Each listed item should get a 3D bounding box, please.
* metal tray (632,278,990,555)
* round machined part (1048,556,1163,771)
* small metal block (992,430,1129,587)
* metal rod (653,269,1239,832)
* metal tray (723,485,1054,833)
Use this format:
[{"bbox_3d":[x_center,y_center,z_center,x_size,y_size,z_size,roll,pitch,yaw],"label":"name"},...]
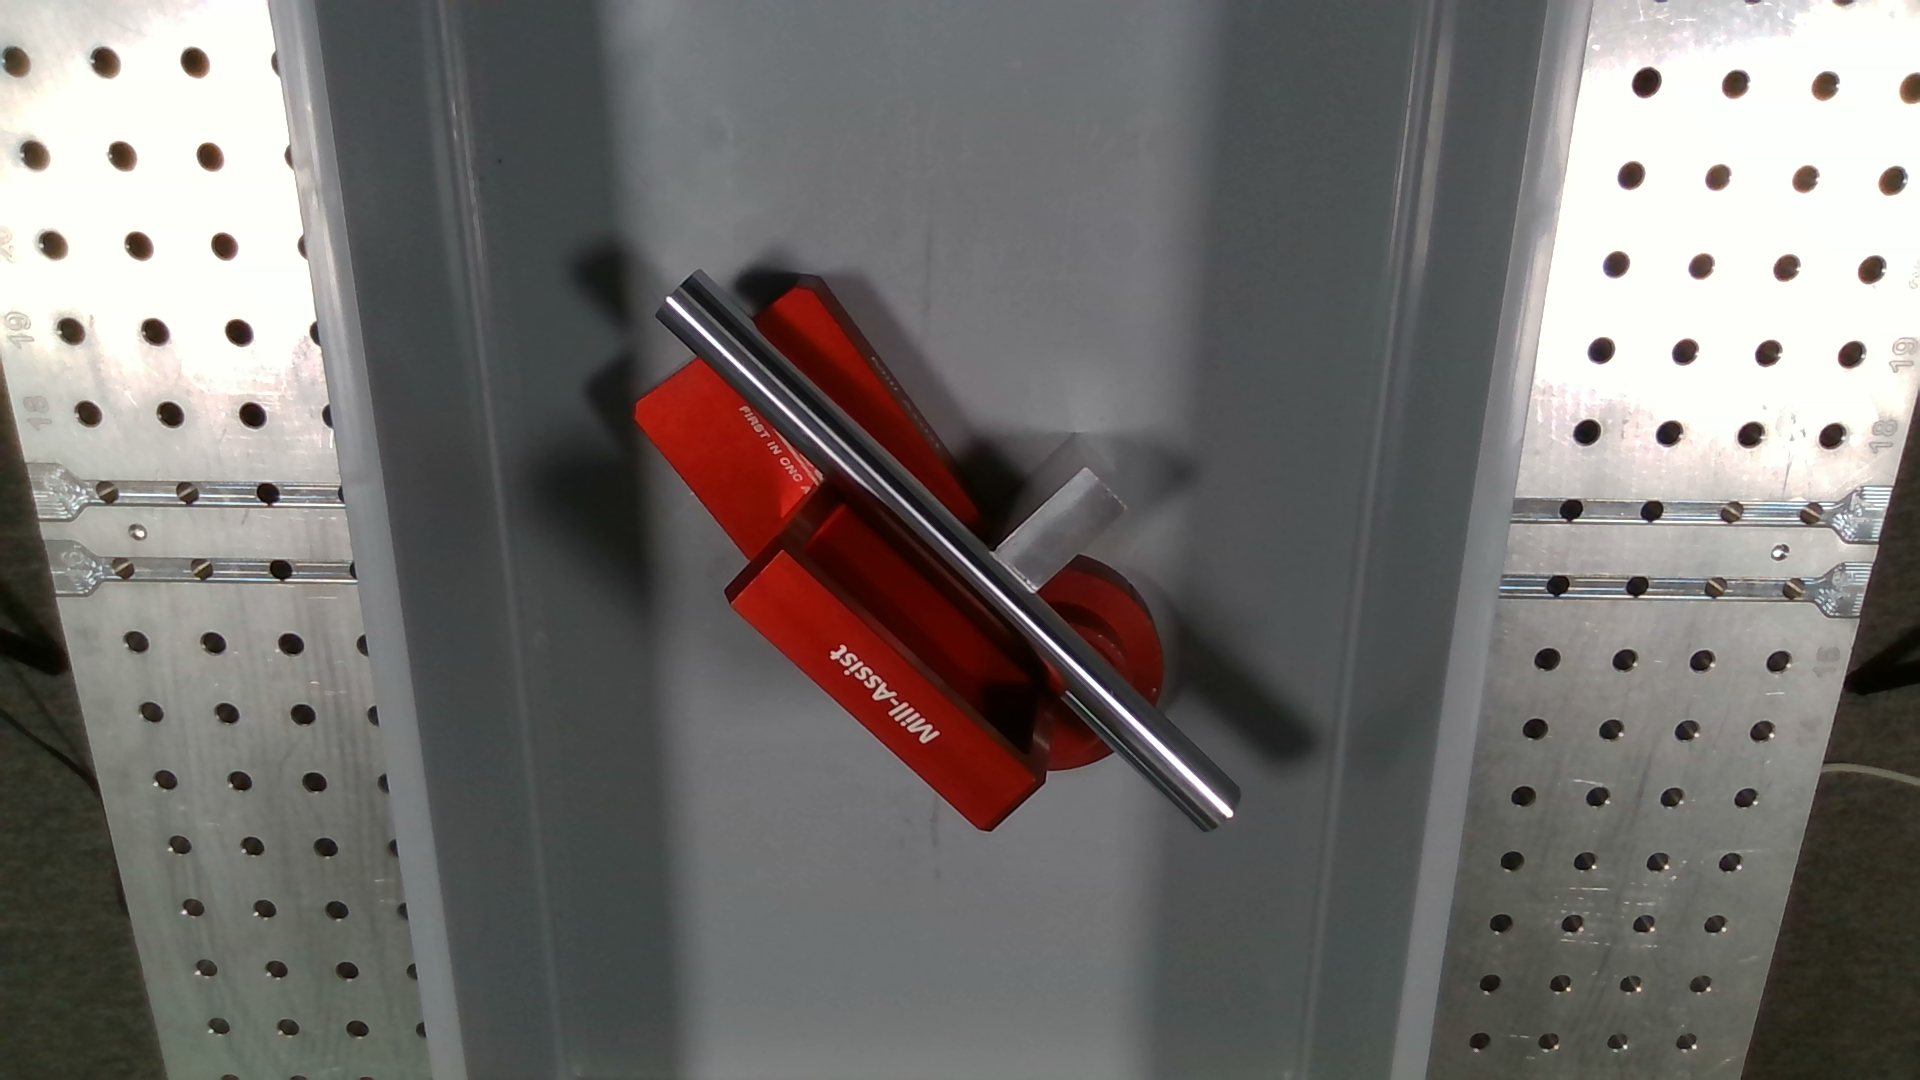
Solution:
[{"bbox_3d":[-0.059,-0.031,0.569,0.090,0.030,0.130,-33,107,12],"label":"metal tray"},{"bbox_3d":[0.039,0.057,0.595,0.098,0.042,0.098,0,110,0],"label":"round machined part"},{"bbox_3d":[0.040,-0.013,0.565,0.050,0.050,0.025,-43,105,14],"label":"small metal block"},{"bbox_3d":[0.000,0.009,0.545,0.300,0.025,0.025,44,105,-10],"label":"metal rod"},{"bbox_3d":[-0.022,0.041,0.524,0.130,0.090,0.030,43,107,-7],"label":"metal tray"}]
